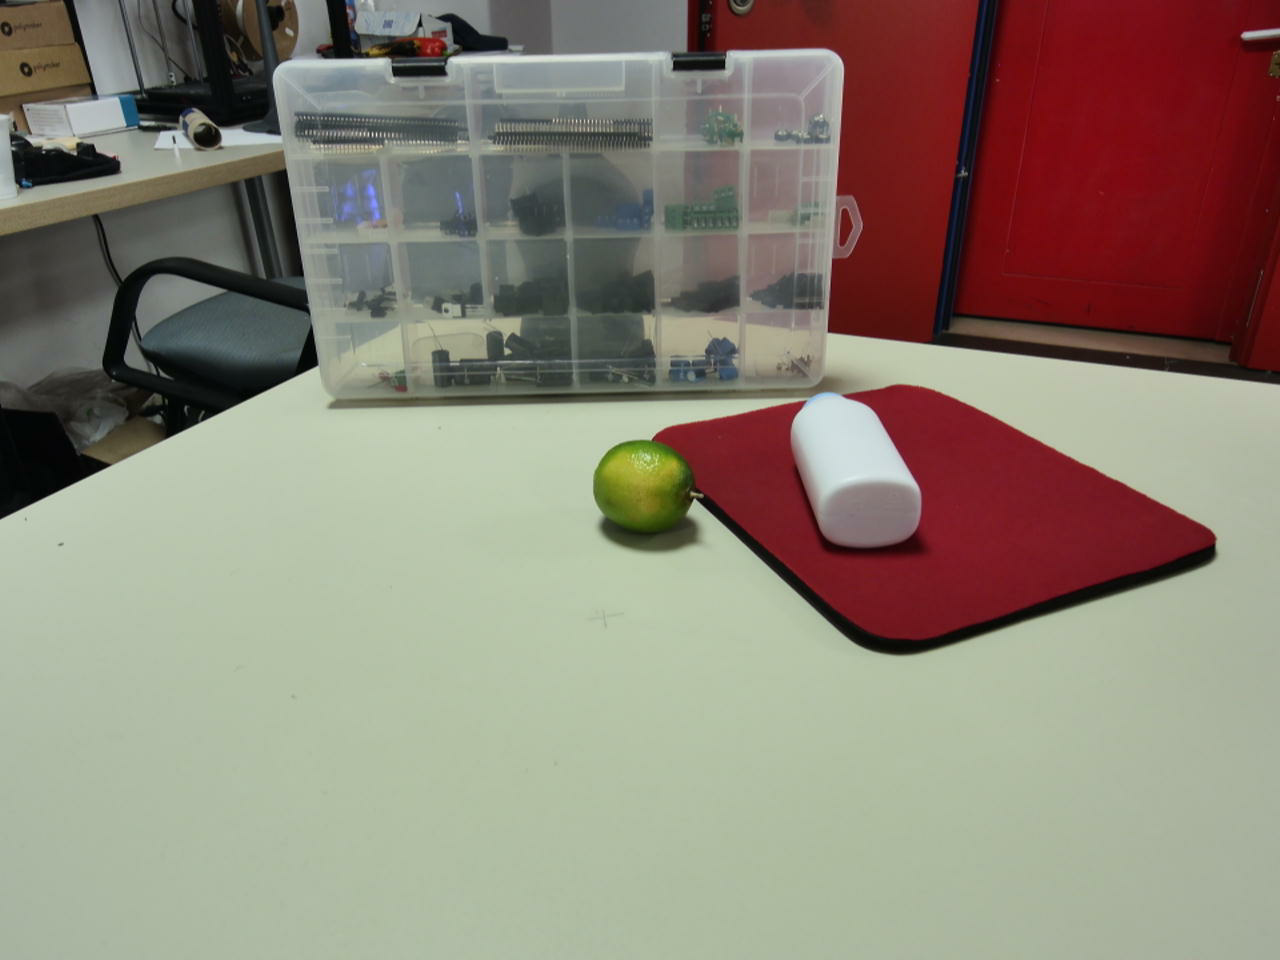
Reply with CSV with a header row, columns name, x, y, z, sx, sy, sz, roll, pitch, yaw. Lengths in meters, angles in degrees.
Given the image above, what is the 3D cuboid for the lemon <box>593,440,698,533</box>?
name,x,y,z,sx,sy,sz,roll,pitch,yaw
lemon,0.002,0.003,0.550,0.054,0.050,0.055,-6,26,-14
